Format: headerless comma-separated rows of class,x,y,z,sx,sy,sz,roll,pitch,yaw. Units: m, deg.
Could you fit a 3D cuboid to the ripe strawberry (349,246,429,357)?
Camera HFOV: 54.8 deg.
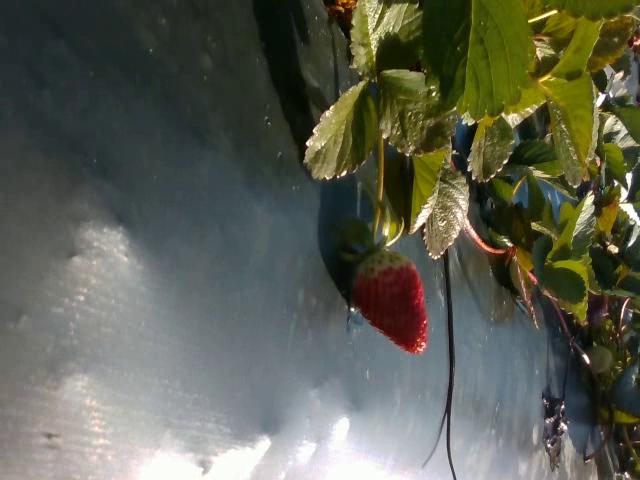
ripe strawberry,0.025,0.022,0.202,0.028,0.041,0.031,-3,-35,-41
